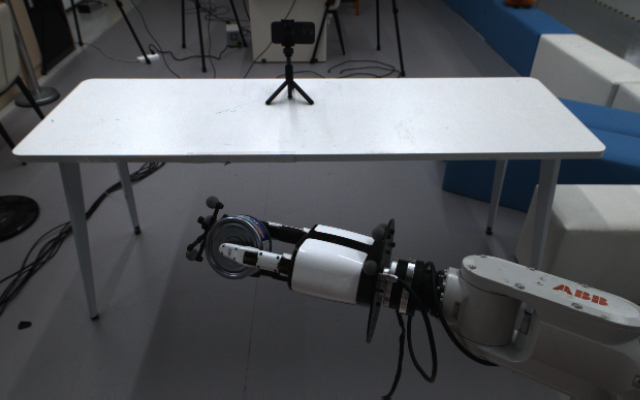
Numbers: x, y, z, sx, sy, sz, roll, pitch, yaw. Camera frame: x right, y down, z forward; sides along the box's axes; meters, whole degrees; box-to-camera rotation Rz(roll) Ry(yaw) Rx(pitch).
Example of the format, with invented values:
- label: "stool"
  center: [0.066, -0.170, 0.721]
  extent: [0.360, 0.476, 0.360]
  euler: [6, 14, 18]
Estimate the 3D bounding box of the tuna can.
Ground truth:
- label: "tuna can"
  center: [-0.107, 0.069, 0.650]
  extent: [0.085, 0.085, 0.034]
  euler: [12, 5, 14]
